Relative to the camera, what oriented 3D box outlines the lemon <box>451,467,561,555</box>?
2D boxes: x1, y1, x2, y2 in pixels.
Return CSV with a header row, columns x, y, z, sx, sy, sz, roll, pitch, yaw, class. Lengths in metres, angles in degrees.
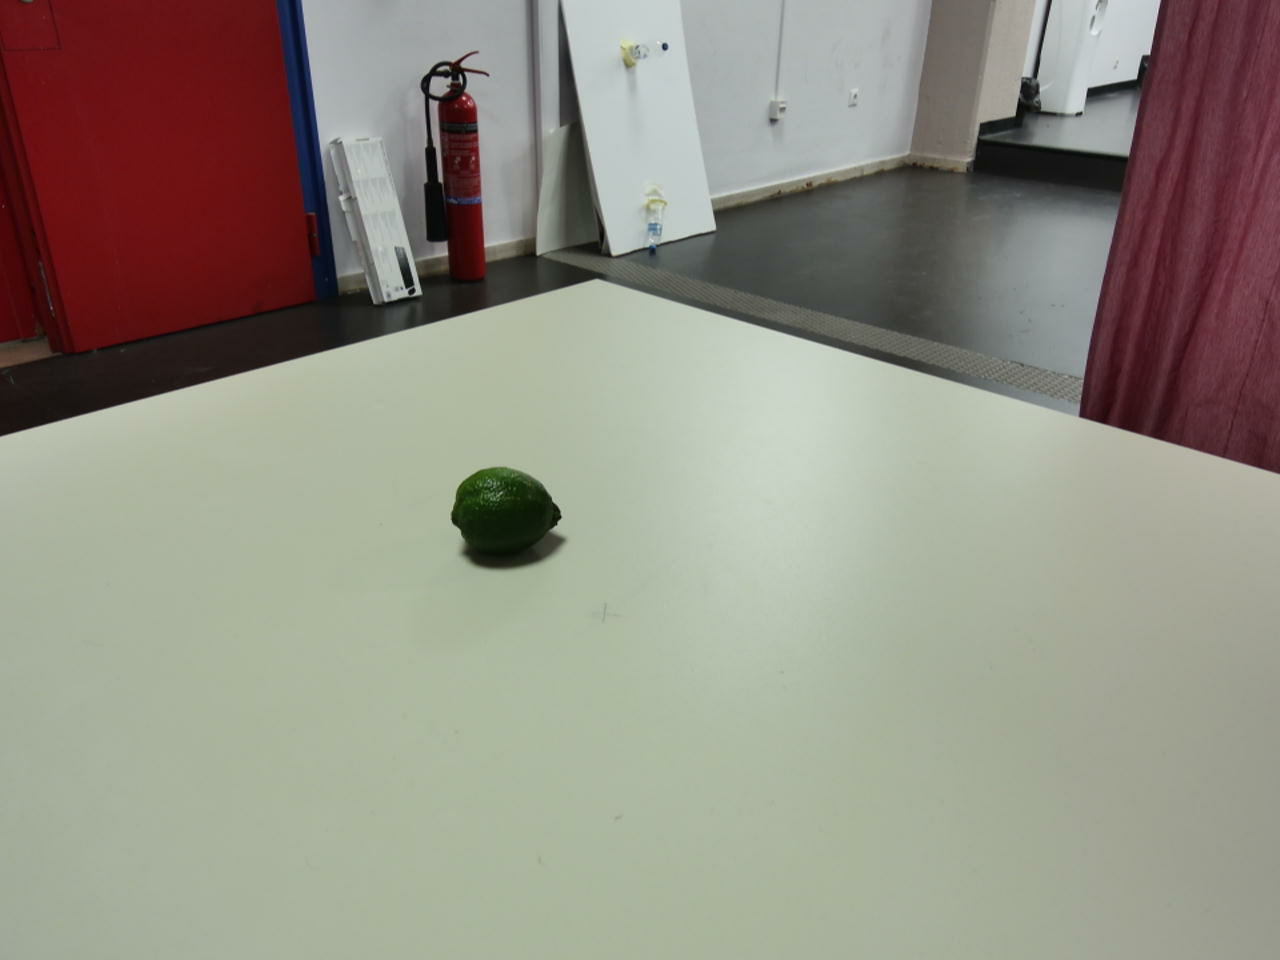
x,y,z,sx,sy,sz,roll,pitch,yaw,class
-0.081,0.017,0.579,0.054,0.051,0.057,19,31,34,lemon
